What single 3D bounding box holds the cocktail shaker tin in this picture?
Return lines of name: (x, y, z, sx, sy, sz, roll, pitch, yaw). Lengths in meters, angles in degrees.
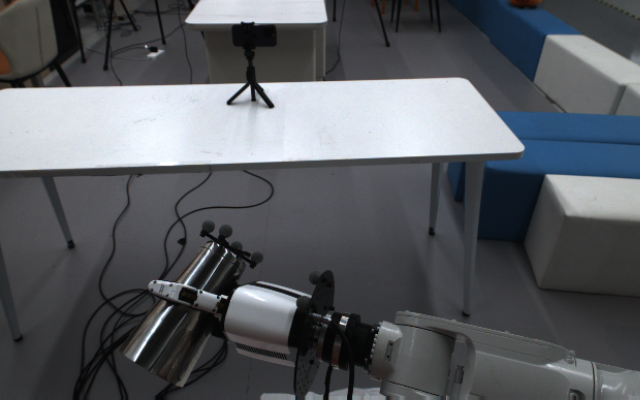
cocktail shaker tin: (-0.170, 0.140, 0.632, 0.093, 0.093, 0.170, 20, 67, 24)
